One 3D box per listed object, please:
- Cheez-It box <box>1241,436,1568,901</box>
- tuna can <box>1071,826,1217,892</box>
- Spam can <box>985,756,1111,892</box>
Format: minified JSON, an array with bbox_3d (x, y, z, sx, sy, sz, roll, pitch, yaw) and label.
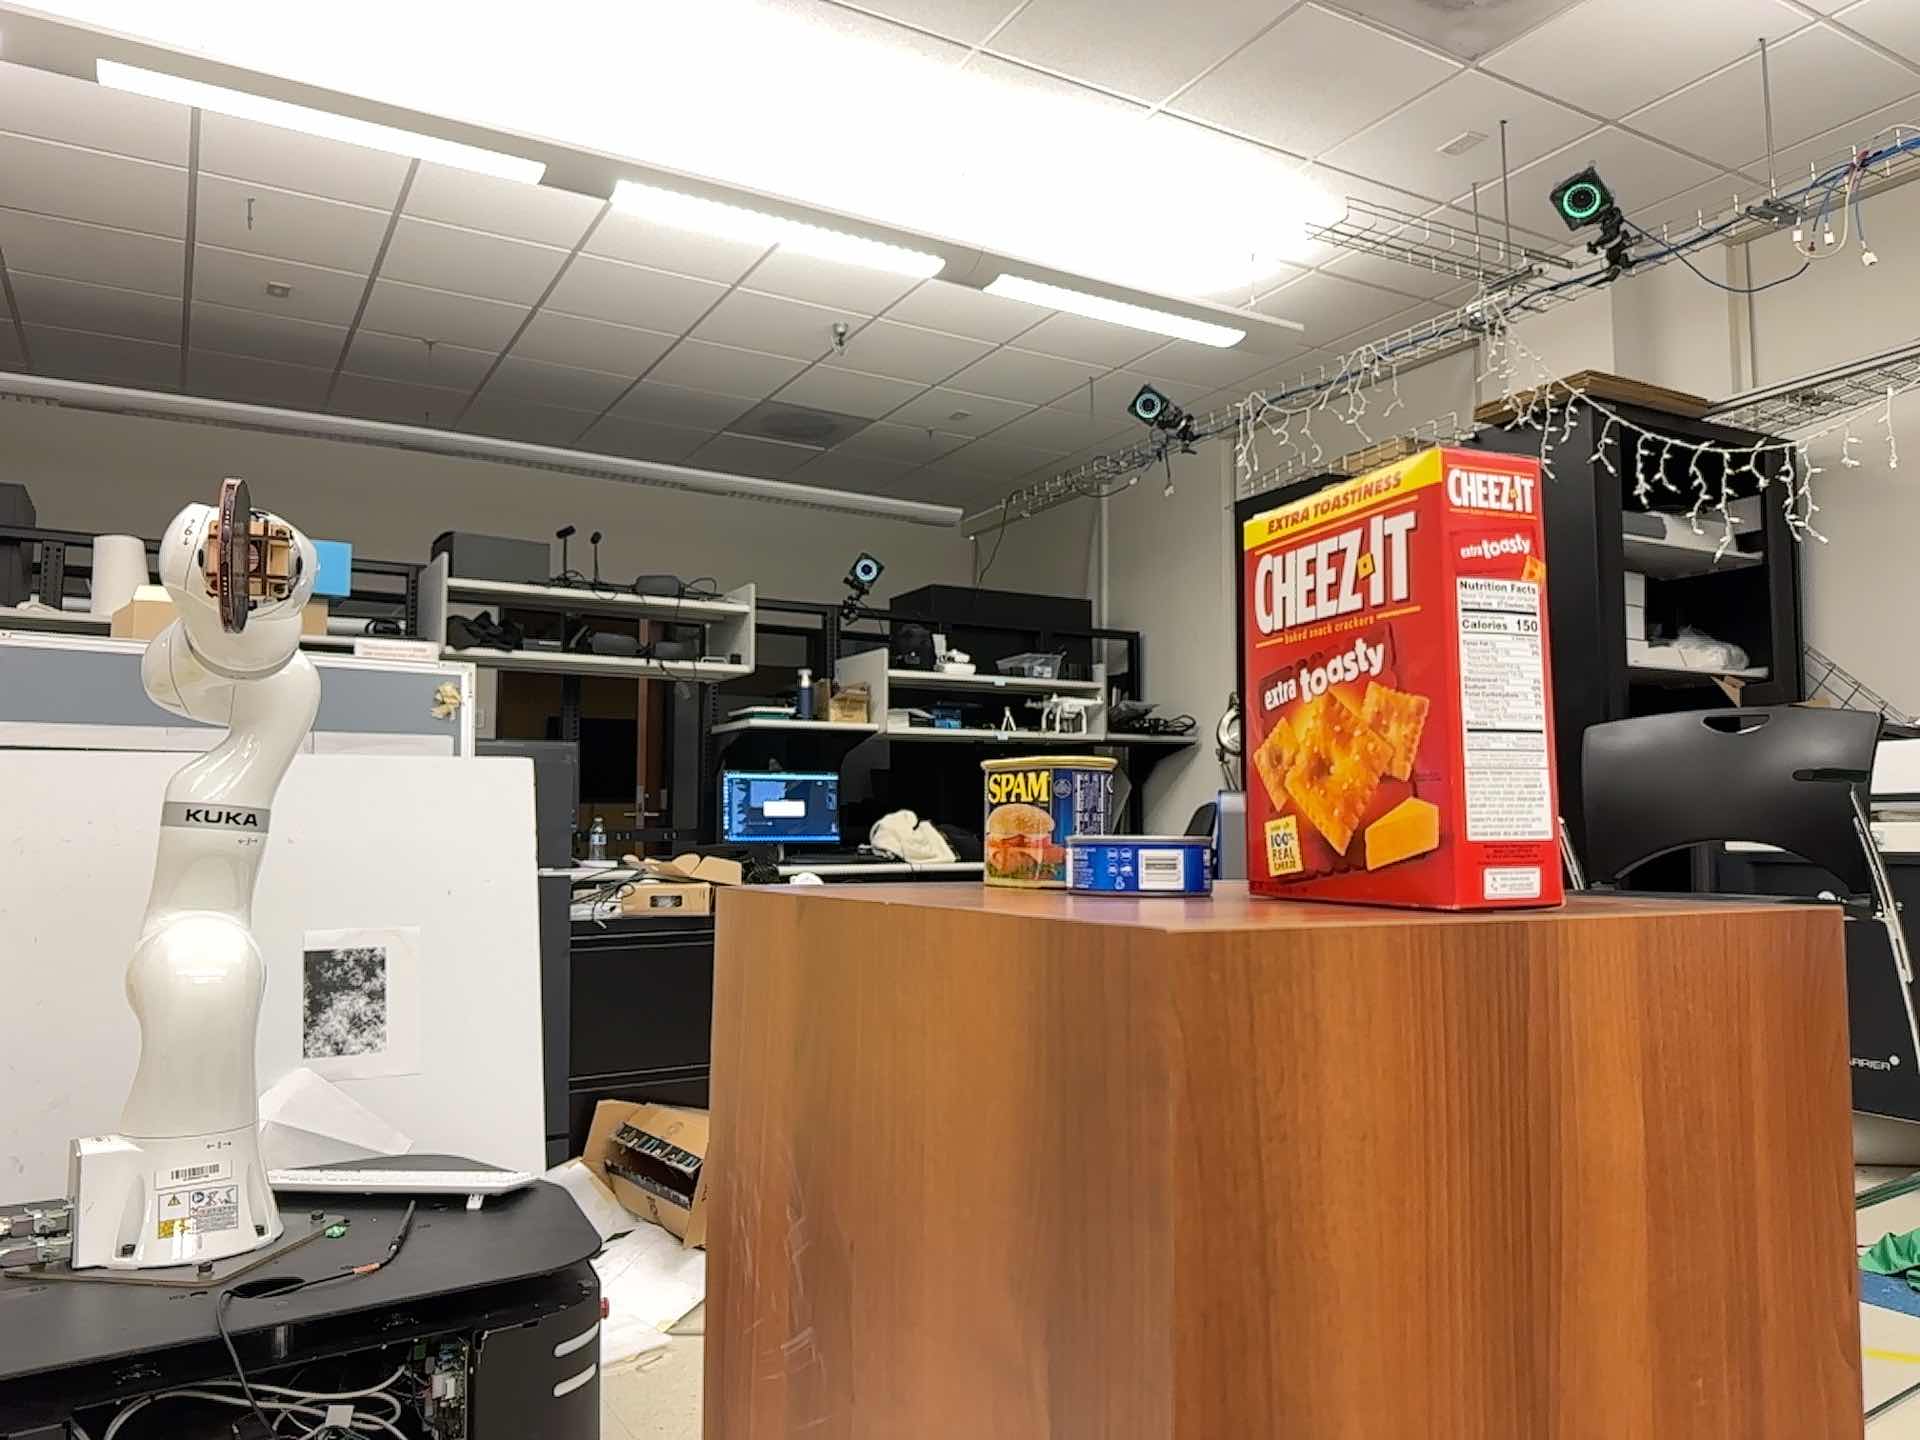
[{"bbox_3d":[0.224,-0.017,0.714,0.062,0.214,0.159,3,-8,-24],"label":"Cheez-It box"},{"bbox_3d":[0.107,0.082,0.788,0.083,0.034,0.083,1,-9,0],"label":"tuna can"},{"bbox_3d":[0.056,0.070,0.891,0.056,0.083,0.100,3,-7,-21],"label":"Spam can"}]
